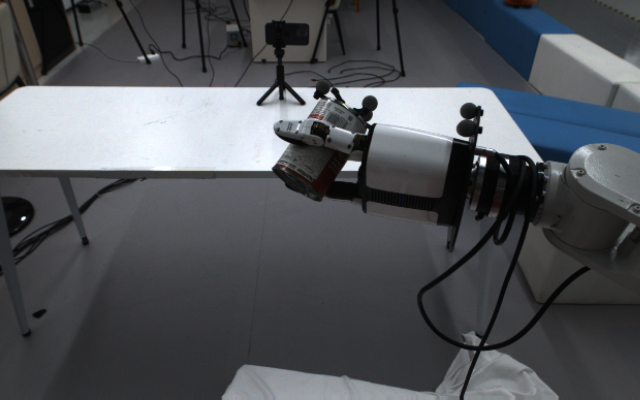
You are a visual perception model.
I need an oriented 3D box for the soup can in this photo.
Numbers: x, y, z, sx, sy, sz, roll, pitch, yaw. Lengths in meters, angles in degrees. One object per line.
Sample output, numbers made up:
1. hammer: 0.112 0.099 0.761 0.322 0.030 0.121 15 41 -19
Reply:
1. soup can: 0.001 -0.059 0.561 0.067 0.067 0.101 27 78 31
